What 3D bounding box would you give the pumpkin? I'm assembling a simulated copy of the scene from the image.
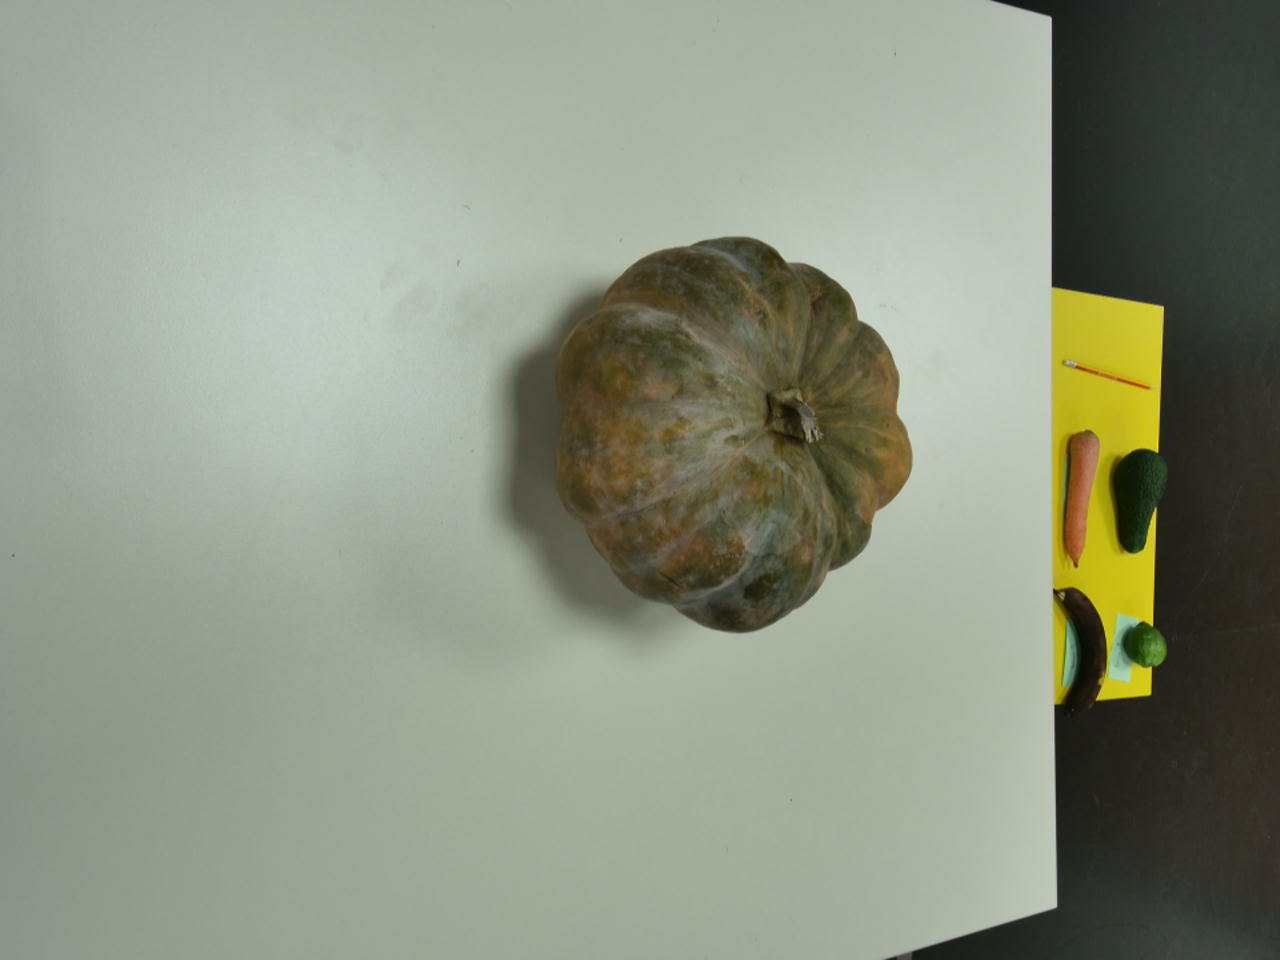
[{"bbox_3d":[0.059,-0.034,0.650,0.252,0.169,0.252,0,91,-29],"label":"pumpkin"}]
